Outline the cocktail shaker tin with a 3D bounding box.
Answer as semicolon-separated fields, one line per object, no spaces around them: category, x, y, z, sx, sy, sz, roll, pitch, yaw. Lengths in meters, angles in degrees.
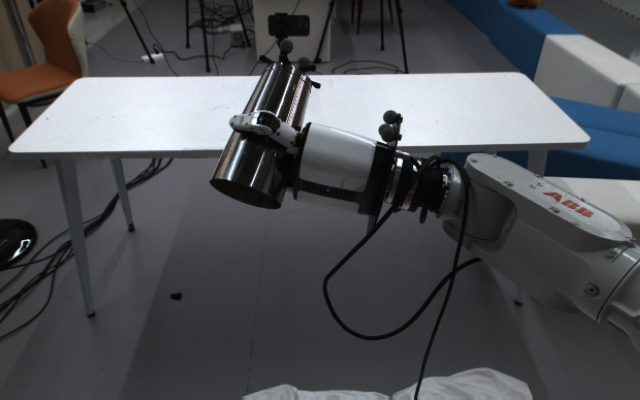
cocktail shaker tin;-0.067;-0.083;0.614;0.093;0.093;0.170;14;74;16
